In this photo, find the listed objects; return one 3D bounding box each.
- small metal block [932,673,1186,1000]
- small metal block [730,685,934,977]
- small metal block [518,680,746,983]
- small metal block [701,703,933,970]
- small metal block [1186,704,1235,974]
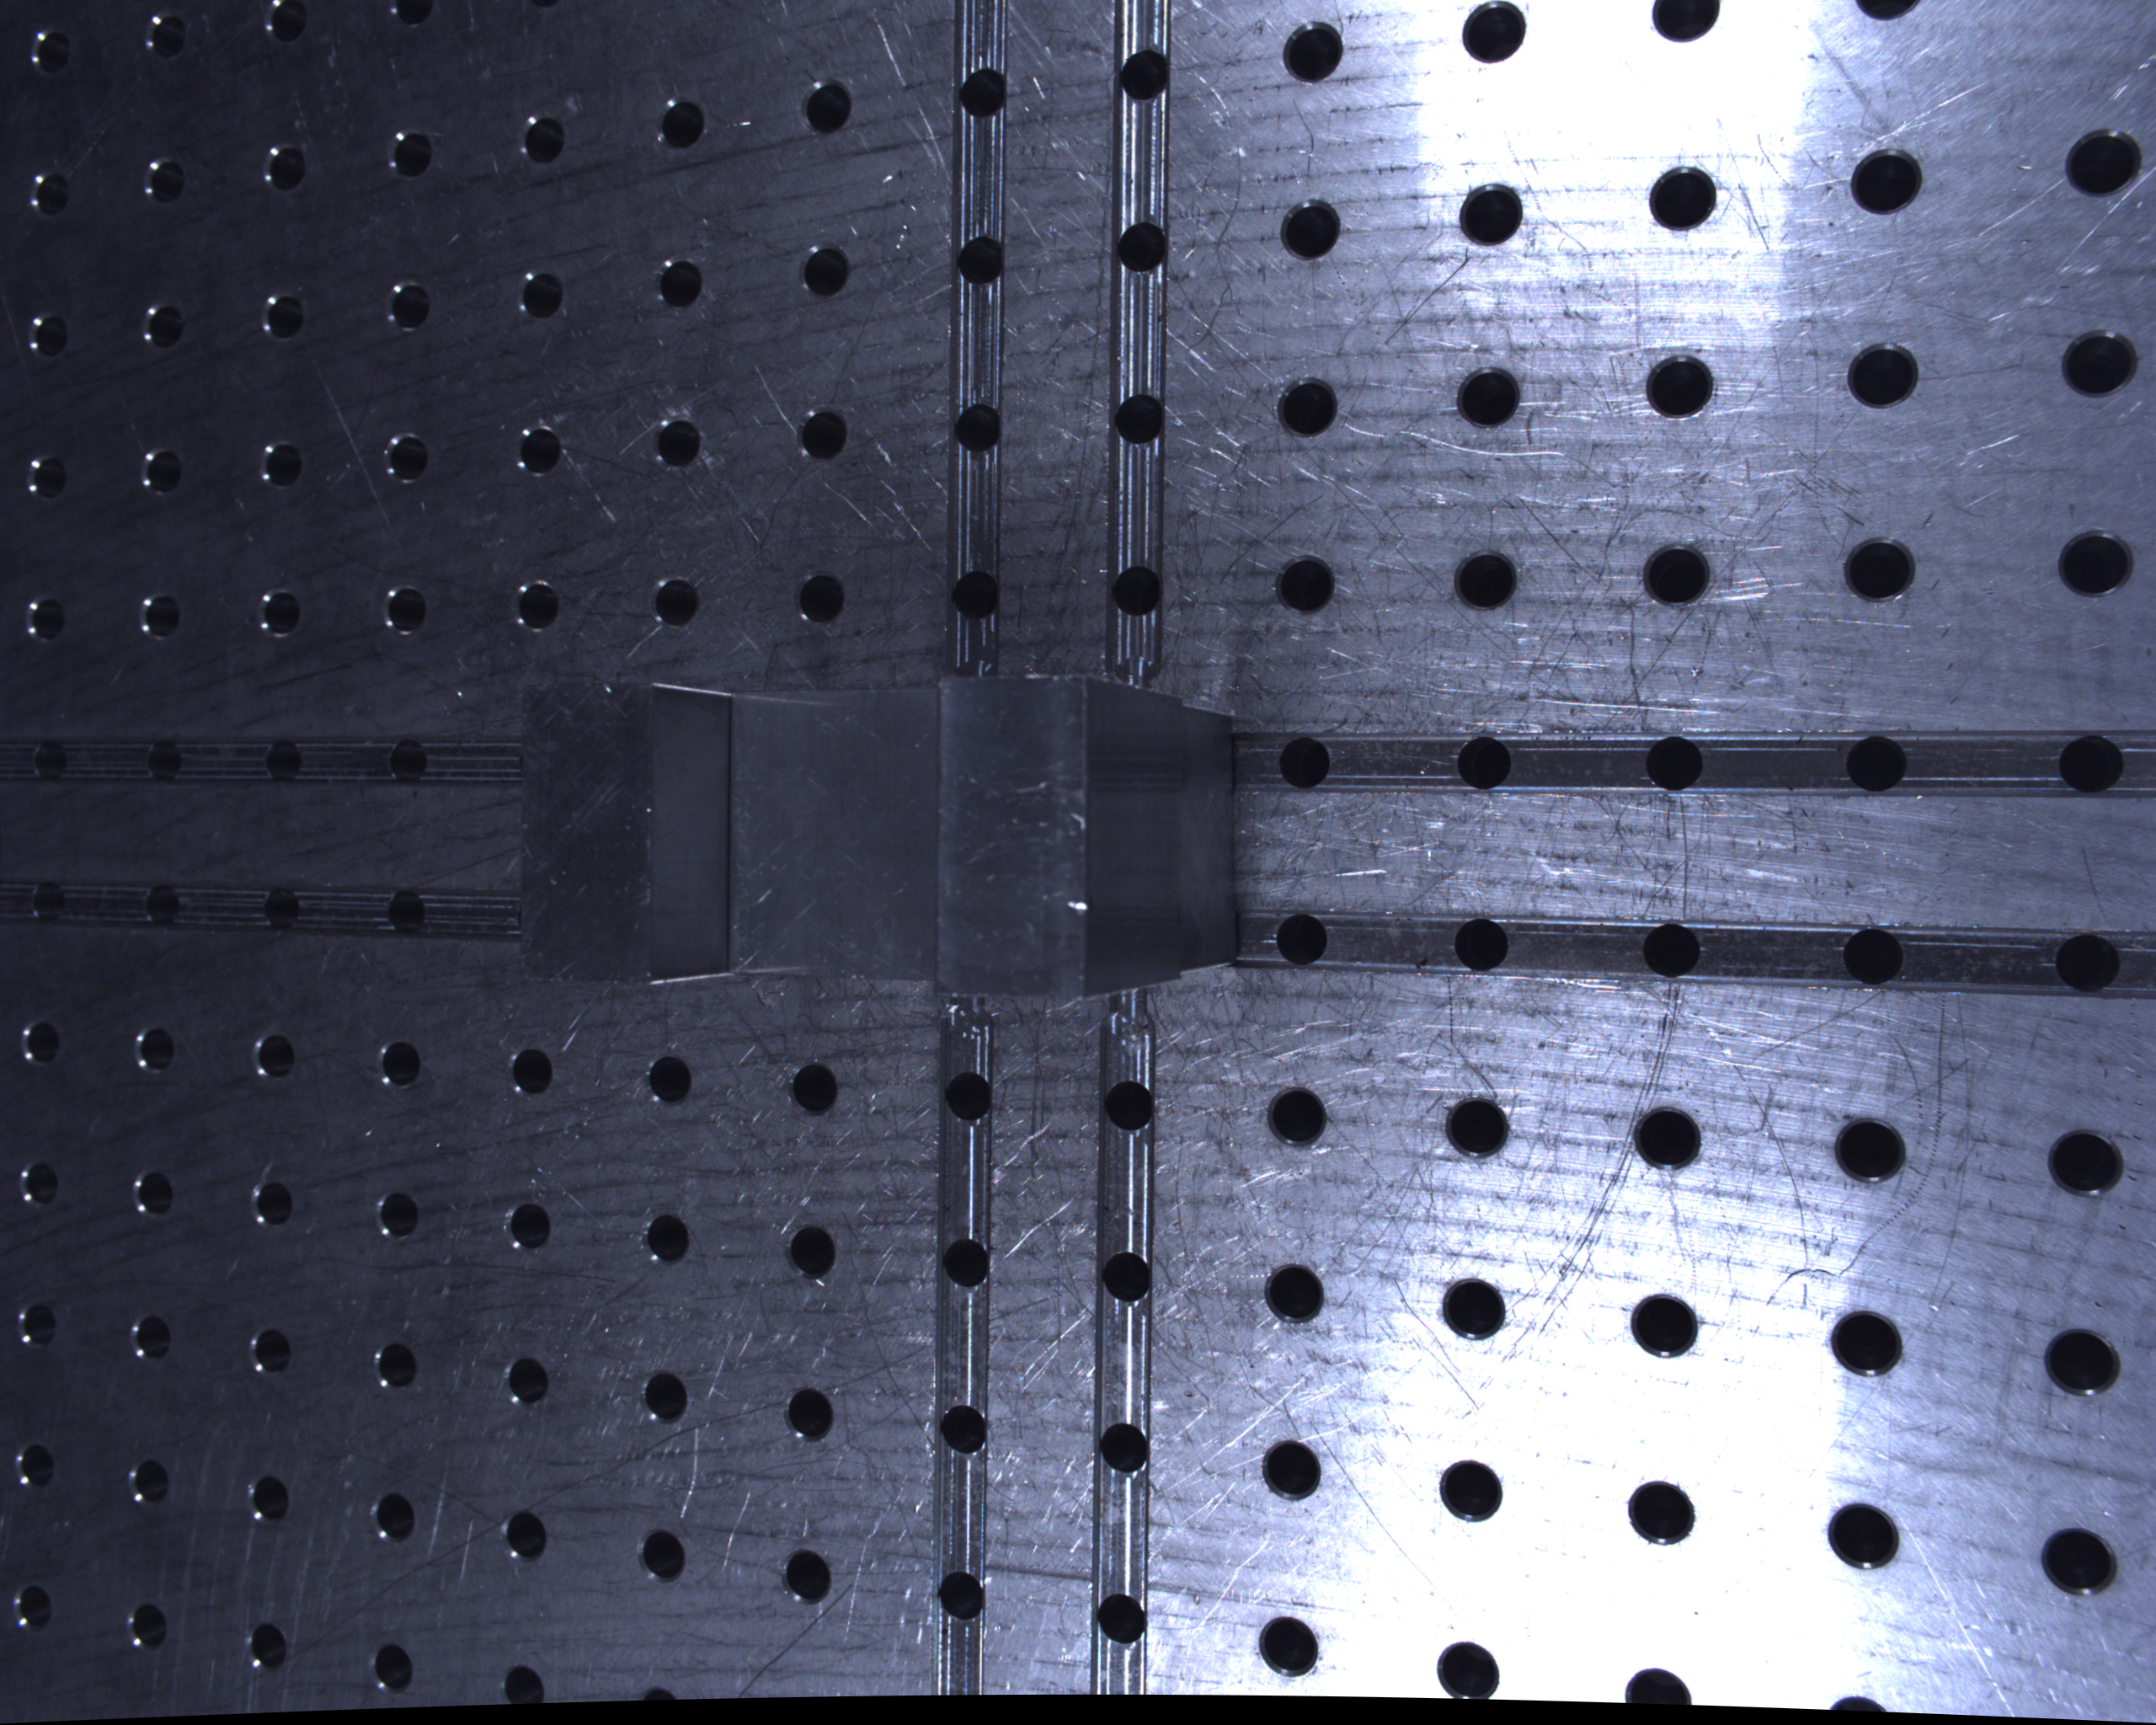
[{"bbox_3d":[-0.002,-0.004,0.344,0.025,0.050,0.050,1,90,20],"label":"small metal block"},{"bbox_3d":[-0.033,-0.006,0.371,0.050,0.025,0.050,1,90,19],"label":"small metal block"},{"bbox_3d":[-0.073,-0.005,0.370,0.025,0.050,0.050,1,90,20],"label":"small metal block"},{"bbox_3d":[-0.051,-0.005,0.415,0.025,0.050,0.050,1,90,20],"label":"small metal block"},{"bbox_3d":[0.011,-0.004,0.394,0.025,0.050,0.050,-1,90,20],"label":"small metal block"}]
